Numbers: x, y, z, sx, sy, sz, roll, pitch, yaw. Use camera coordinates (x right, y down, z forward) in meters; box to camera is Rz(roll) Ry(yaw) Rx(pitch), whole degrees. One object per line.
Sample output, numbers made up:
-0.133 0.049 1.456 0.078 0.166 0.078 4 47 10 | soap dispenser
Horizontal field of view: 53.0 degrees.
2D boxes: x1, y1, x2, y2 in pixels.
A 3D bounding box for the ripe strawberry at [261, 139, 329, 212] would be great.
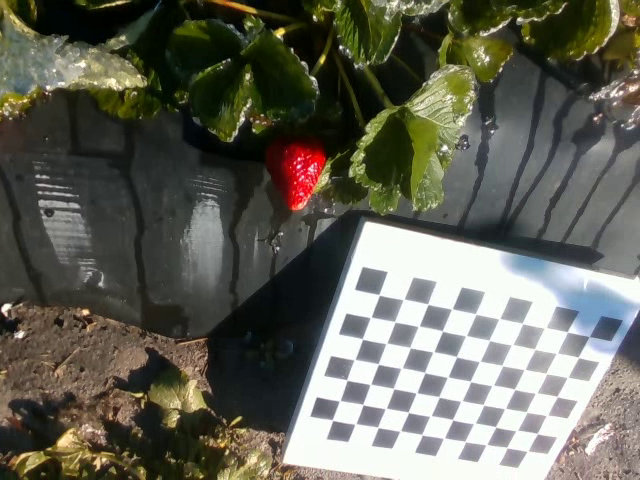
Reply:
-0.014 -0.039 0.395 0.041 0.053 0.047 6 -14 -10 | ripe strawberry
